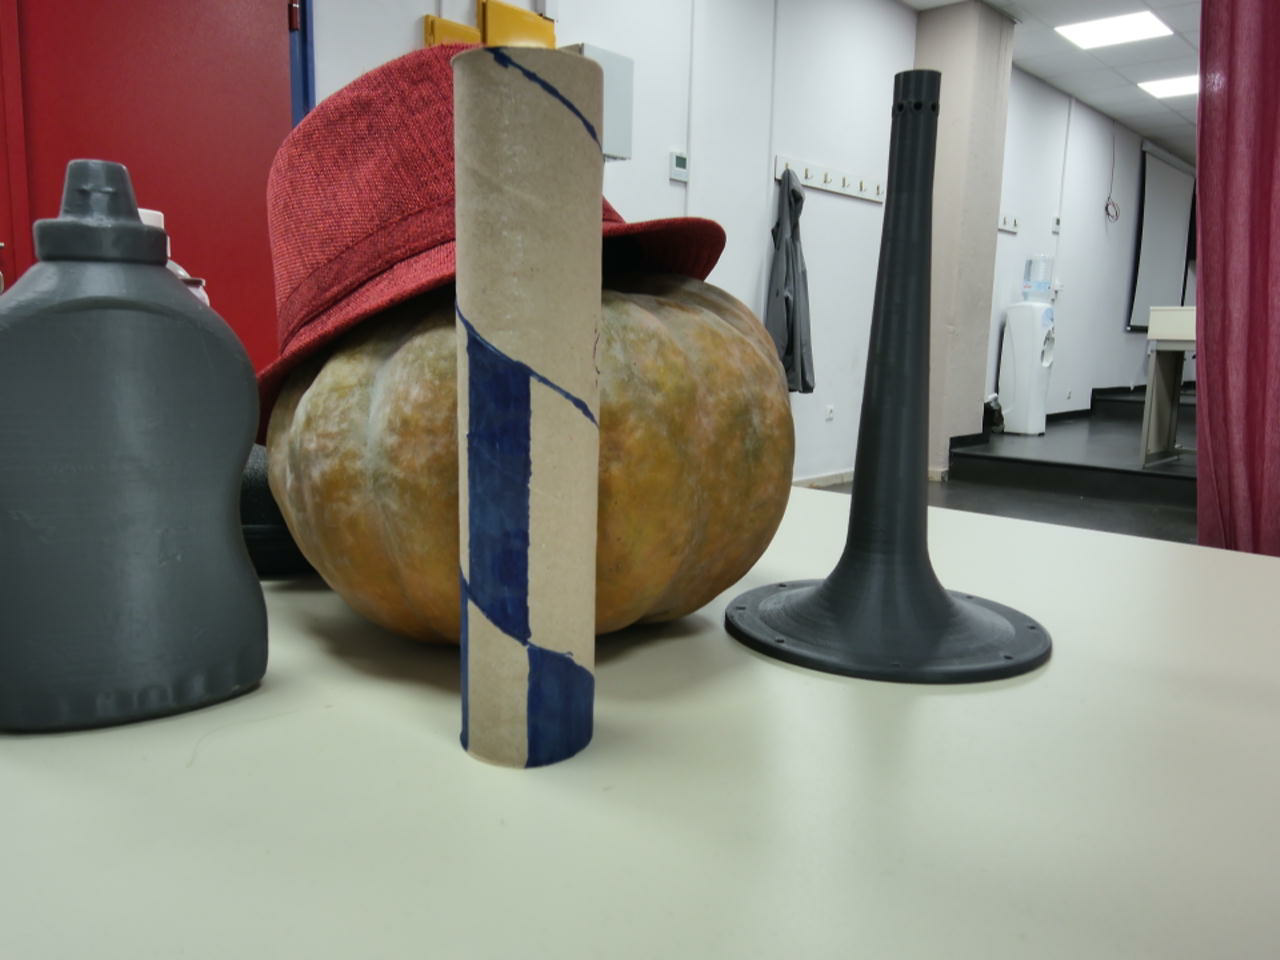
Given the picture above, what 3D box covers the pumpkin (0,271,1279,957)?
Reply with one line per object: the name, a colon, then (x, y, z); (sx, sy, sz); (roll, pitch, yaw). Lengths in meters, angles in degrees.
pumpkin: (-0.050, -0.016, 0.481); (0.252, 0.168, 0.252); (0, 7, 0)
